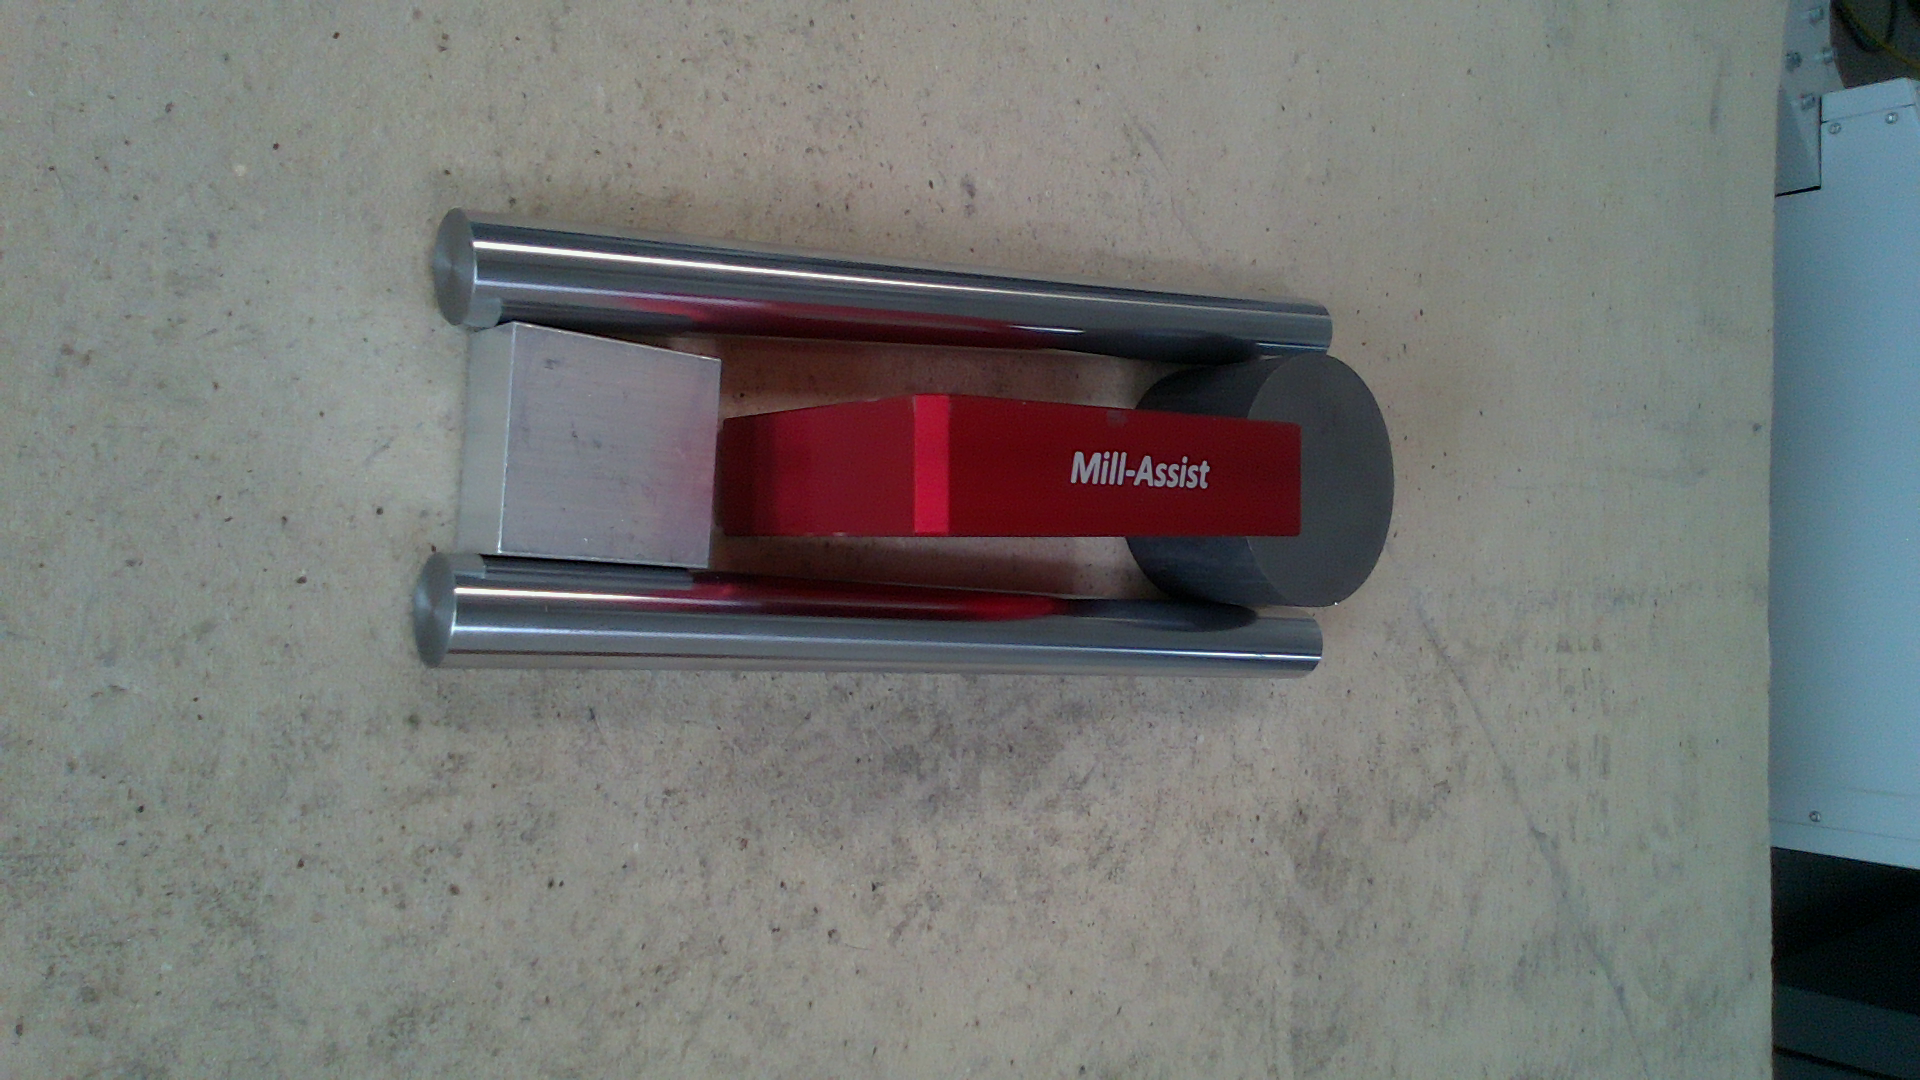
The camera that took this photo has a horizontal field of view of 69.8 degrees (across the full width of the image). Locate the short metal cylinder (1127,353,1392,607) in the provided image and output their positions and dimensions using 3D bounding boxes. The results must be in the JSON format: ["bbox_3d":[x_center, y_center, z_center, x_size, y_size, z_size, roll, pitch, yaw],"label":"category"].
[{"bbox_3d":[0.098,-0.019,0.454,0.080,0.050,0.080,0,90,-40],"label":"short metal cylinder"}]

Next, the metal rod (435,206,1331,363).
[{"bbox_3d":[0.006,-0.066,0.394,0.301,0.025,0.025,-3,92,-40],"label":"metal rod"}]

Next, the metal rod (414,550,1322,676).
[{"bbox_3d":[0.003,0.026,0.391,0.301,0.025,0.025,5,87,-40],"label":"metal rod"}]

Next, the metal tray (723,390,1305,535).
[{"bbox_3d":[0.016,-0.016,0.358,0.131,0.090,0.030,0,90,-39],"label":"metal tray"}]

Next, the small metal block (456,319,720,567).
[{"bbox_3d":[-0.086,-0.020,0.318,0.050,0.025,0.050,6,87,-40],"label":"small metal block"}]
